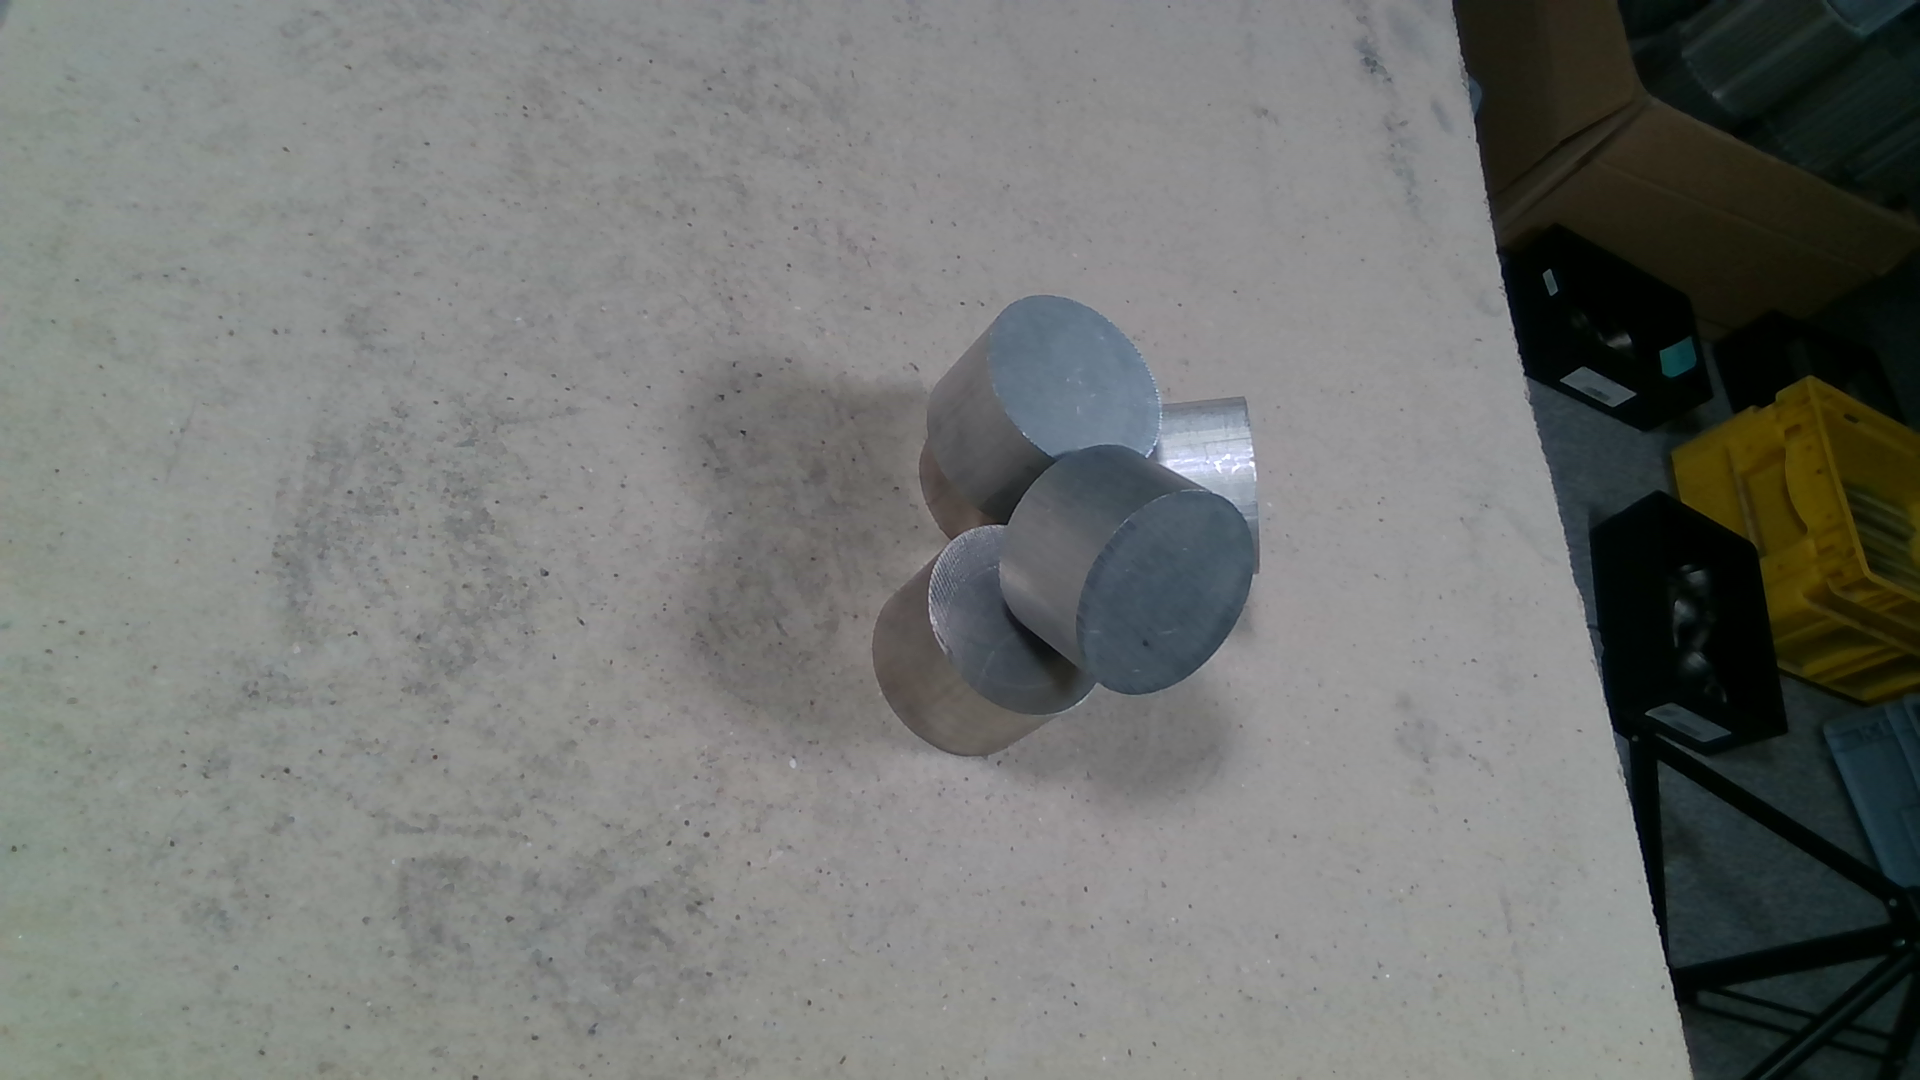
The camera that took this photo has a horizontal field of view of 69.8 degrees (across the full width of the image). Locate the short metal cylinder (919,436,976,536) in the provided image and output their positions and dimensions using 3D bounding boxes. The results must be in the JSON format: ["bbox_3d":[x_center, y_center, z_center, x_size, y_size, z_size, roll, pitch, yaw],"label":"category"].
[{"bbox_3d":[0.029,-0.034,0.606,0.080,0.050,0.080,14,59,-25],"label":"short metal cylinder"}]

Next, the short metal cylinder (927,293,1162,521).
[{"bbox_3d":[0.034,-0.051,0.553,0.080,0.050,0.080,14,59,-25],"label":"short metal cylinder"}]

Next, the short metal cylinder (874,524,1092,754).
[{"bbox_3d":[0.011,0.040,0.555,0.080,0.050,0.080,14,59,-25],"label":"short metal cylinder"}]

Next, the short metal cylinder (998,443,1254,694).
[{"bbox_3d":[0.061,0.010,0.509,0.080,0.080,0.050,-3,24,-33],"label":"short metal cylinder"}]

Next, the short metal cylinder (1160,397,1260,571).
[{"bbox_3d":[0.106,-0.022,0.619,0.050,0.080,0.080,-5,61,9],"label":"short metal cylinder"}]
